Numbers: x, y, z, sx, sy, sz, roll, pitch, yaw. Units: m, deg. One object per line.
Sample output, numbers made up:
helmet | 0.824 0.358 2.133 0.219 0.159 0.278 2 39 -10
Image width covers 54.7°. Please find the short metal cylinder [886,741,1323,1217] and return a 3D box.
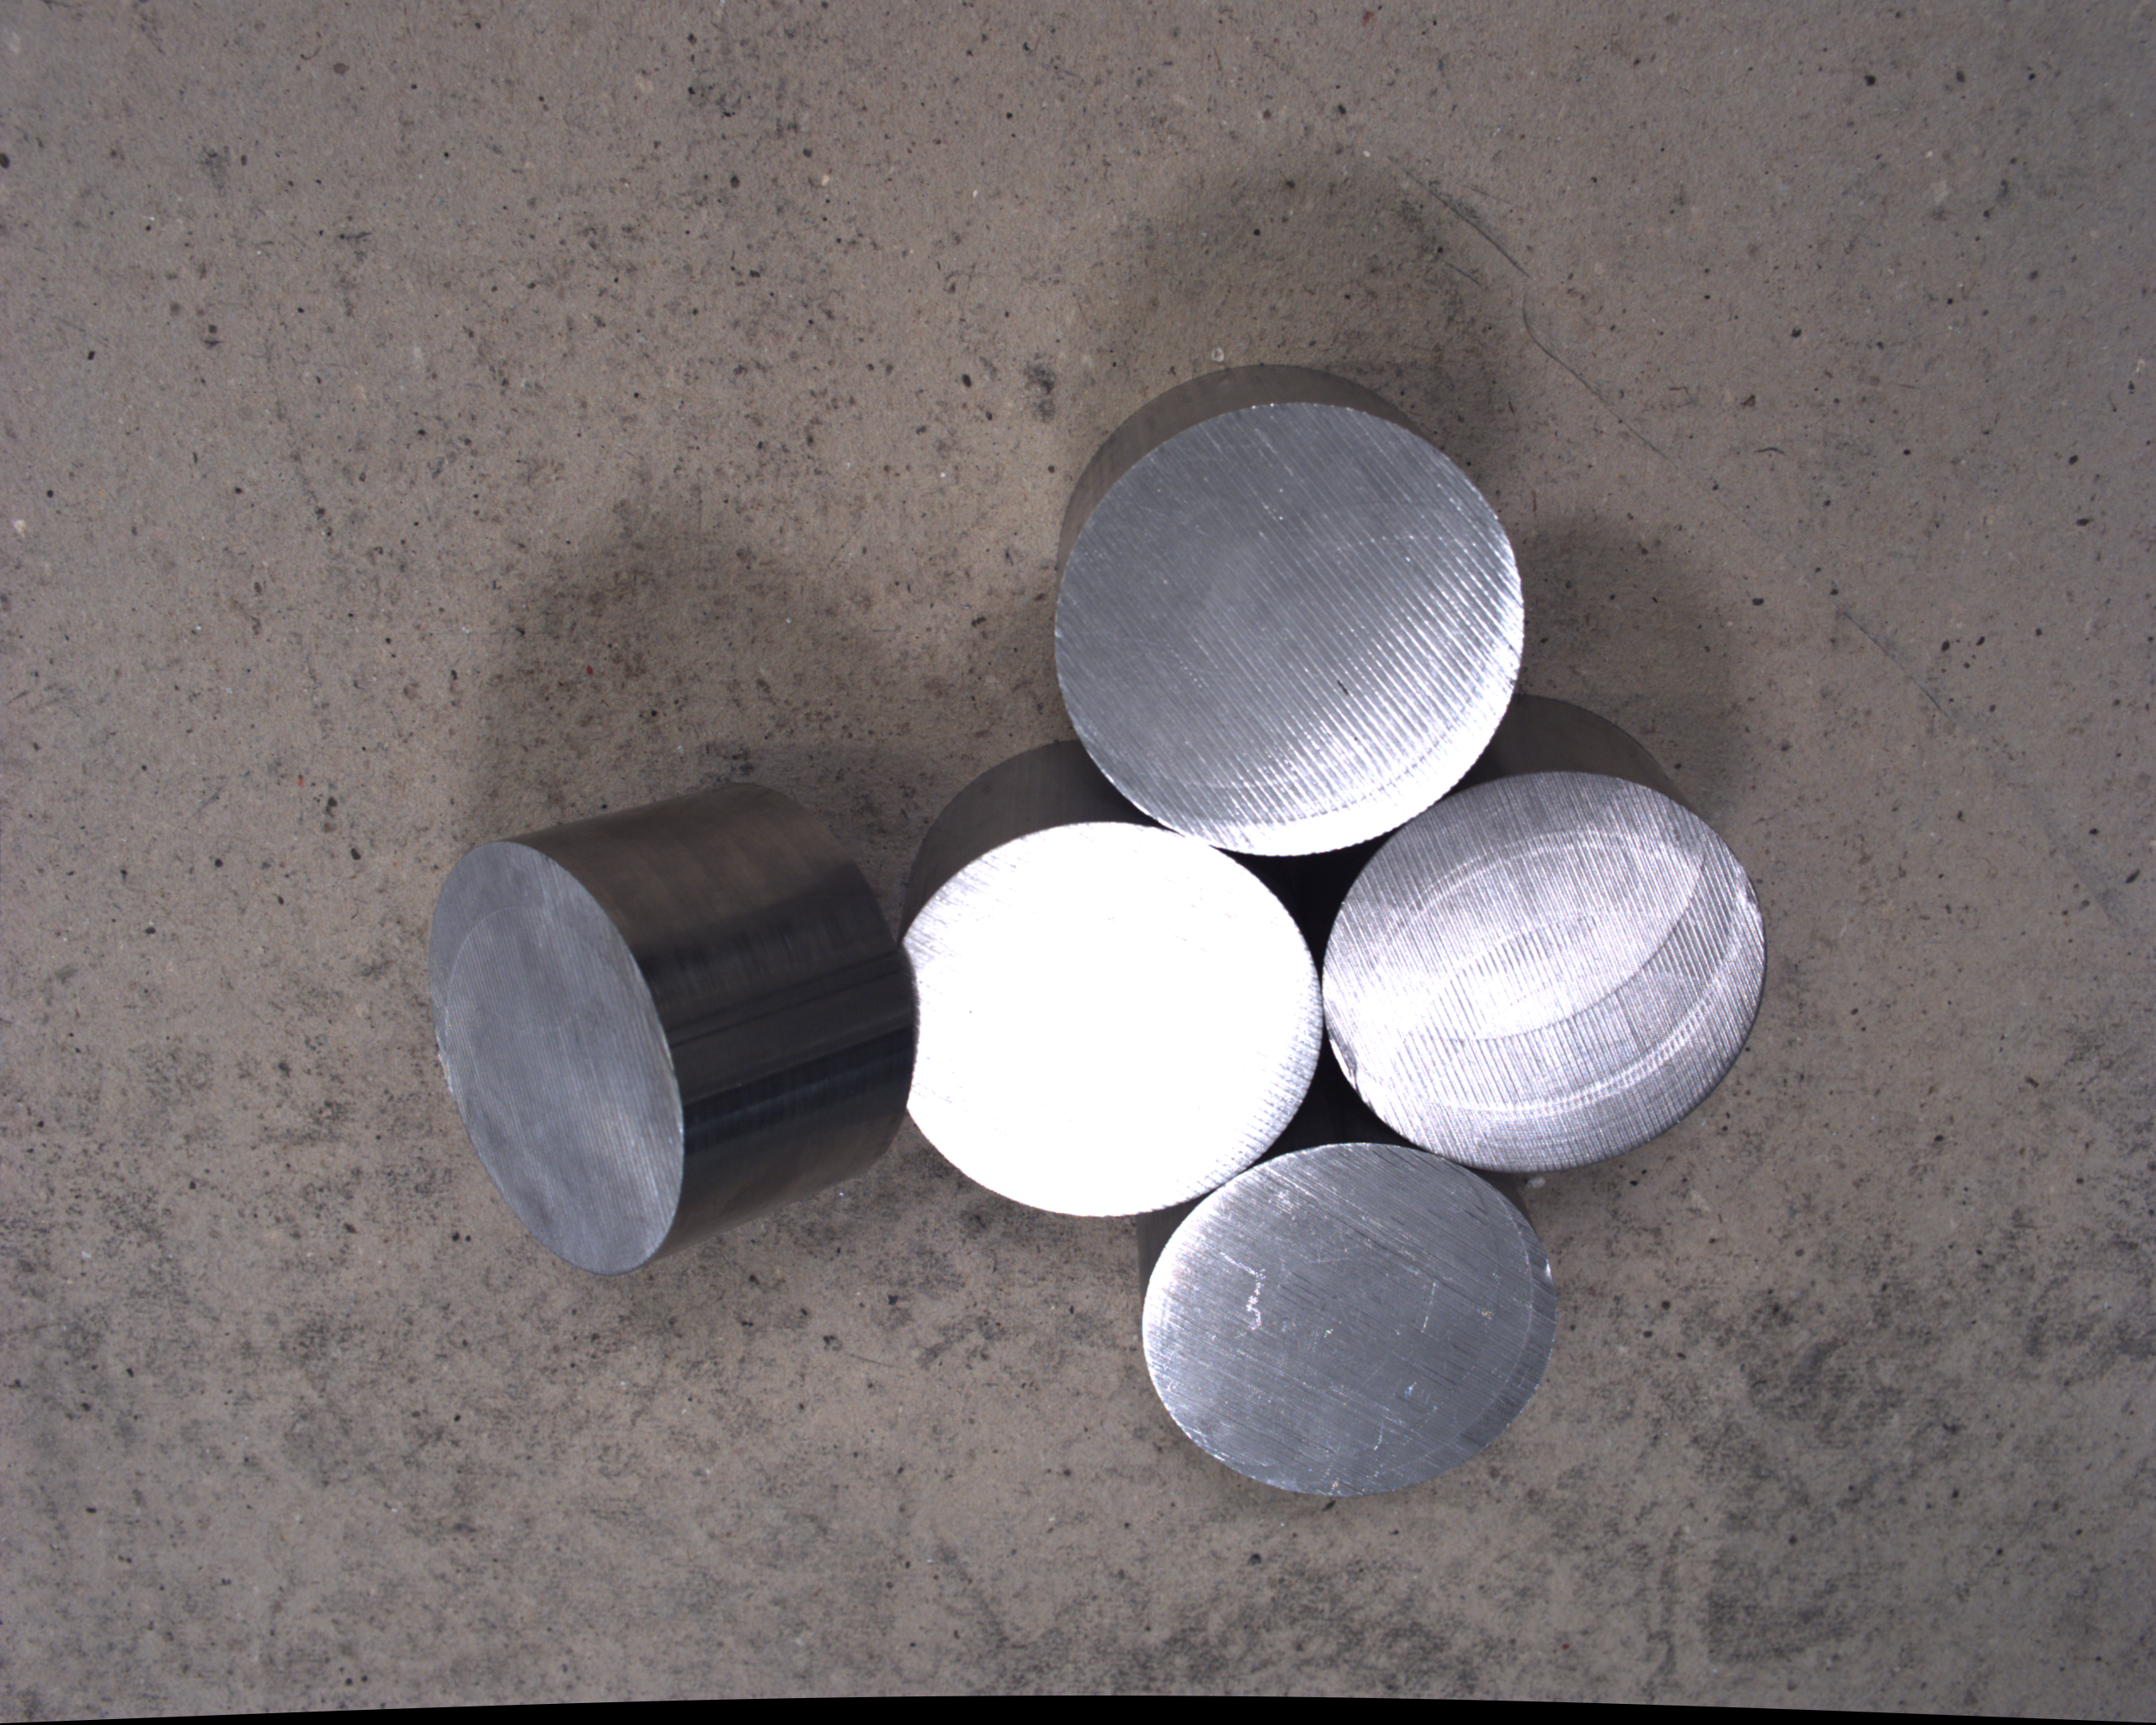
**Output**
short metal cylinder | 0.005 0.021 0.405 0.081 0.050 0.079 0 110 0

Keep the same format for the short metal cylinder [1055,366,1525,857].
short metal cylinder | 0.036 -0.047 0.380 0.081 0.050 0.079 0 110 0

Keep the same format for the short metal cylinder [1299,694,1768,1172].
short metal cylinder | 0.085 0.012 0.403 0.081 0.050 0.079 0 110 0

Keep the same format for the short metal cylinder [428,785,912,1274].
short metal cylinder | -0.076 0.029 0.386 0.080 0.050 0.079 17 115 41

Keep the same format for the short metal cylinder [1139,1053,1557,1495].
short metal cylinder | 0.053 0.081 0.428 0.081 0.050 0.079 0 110 0
